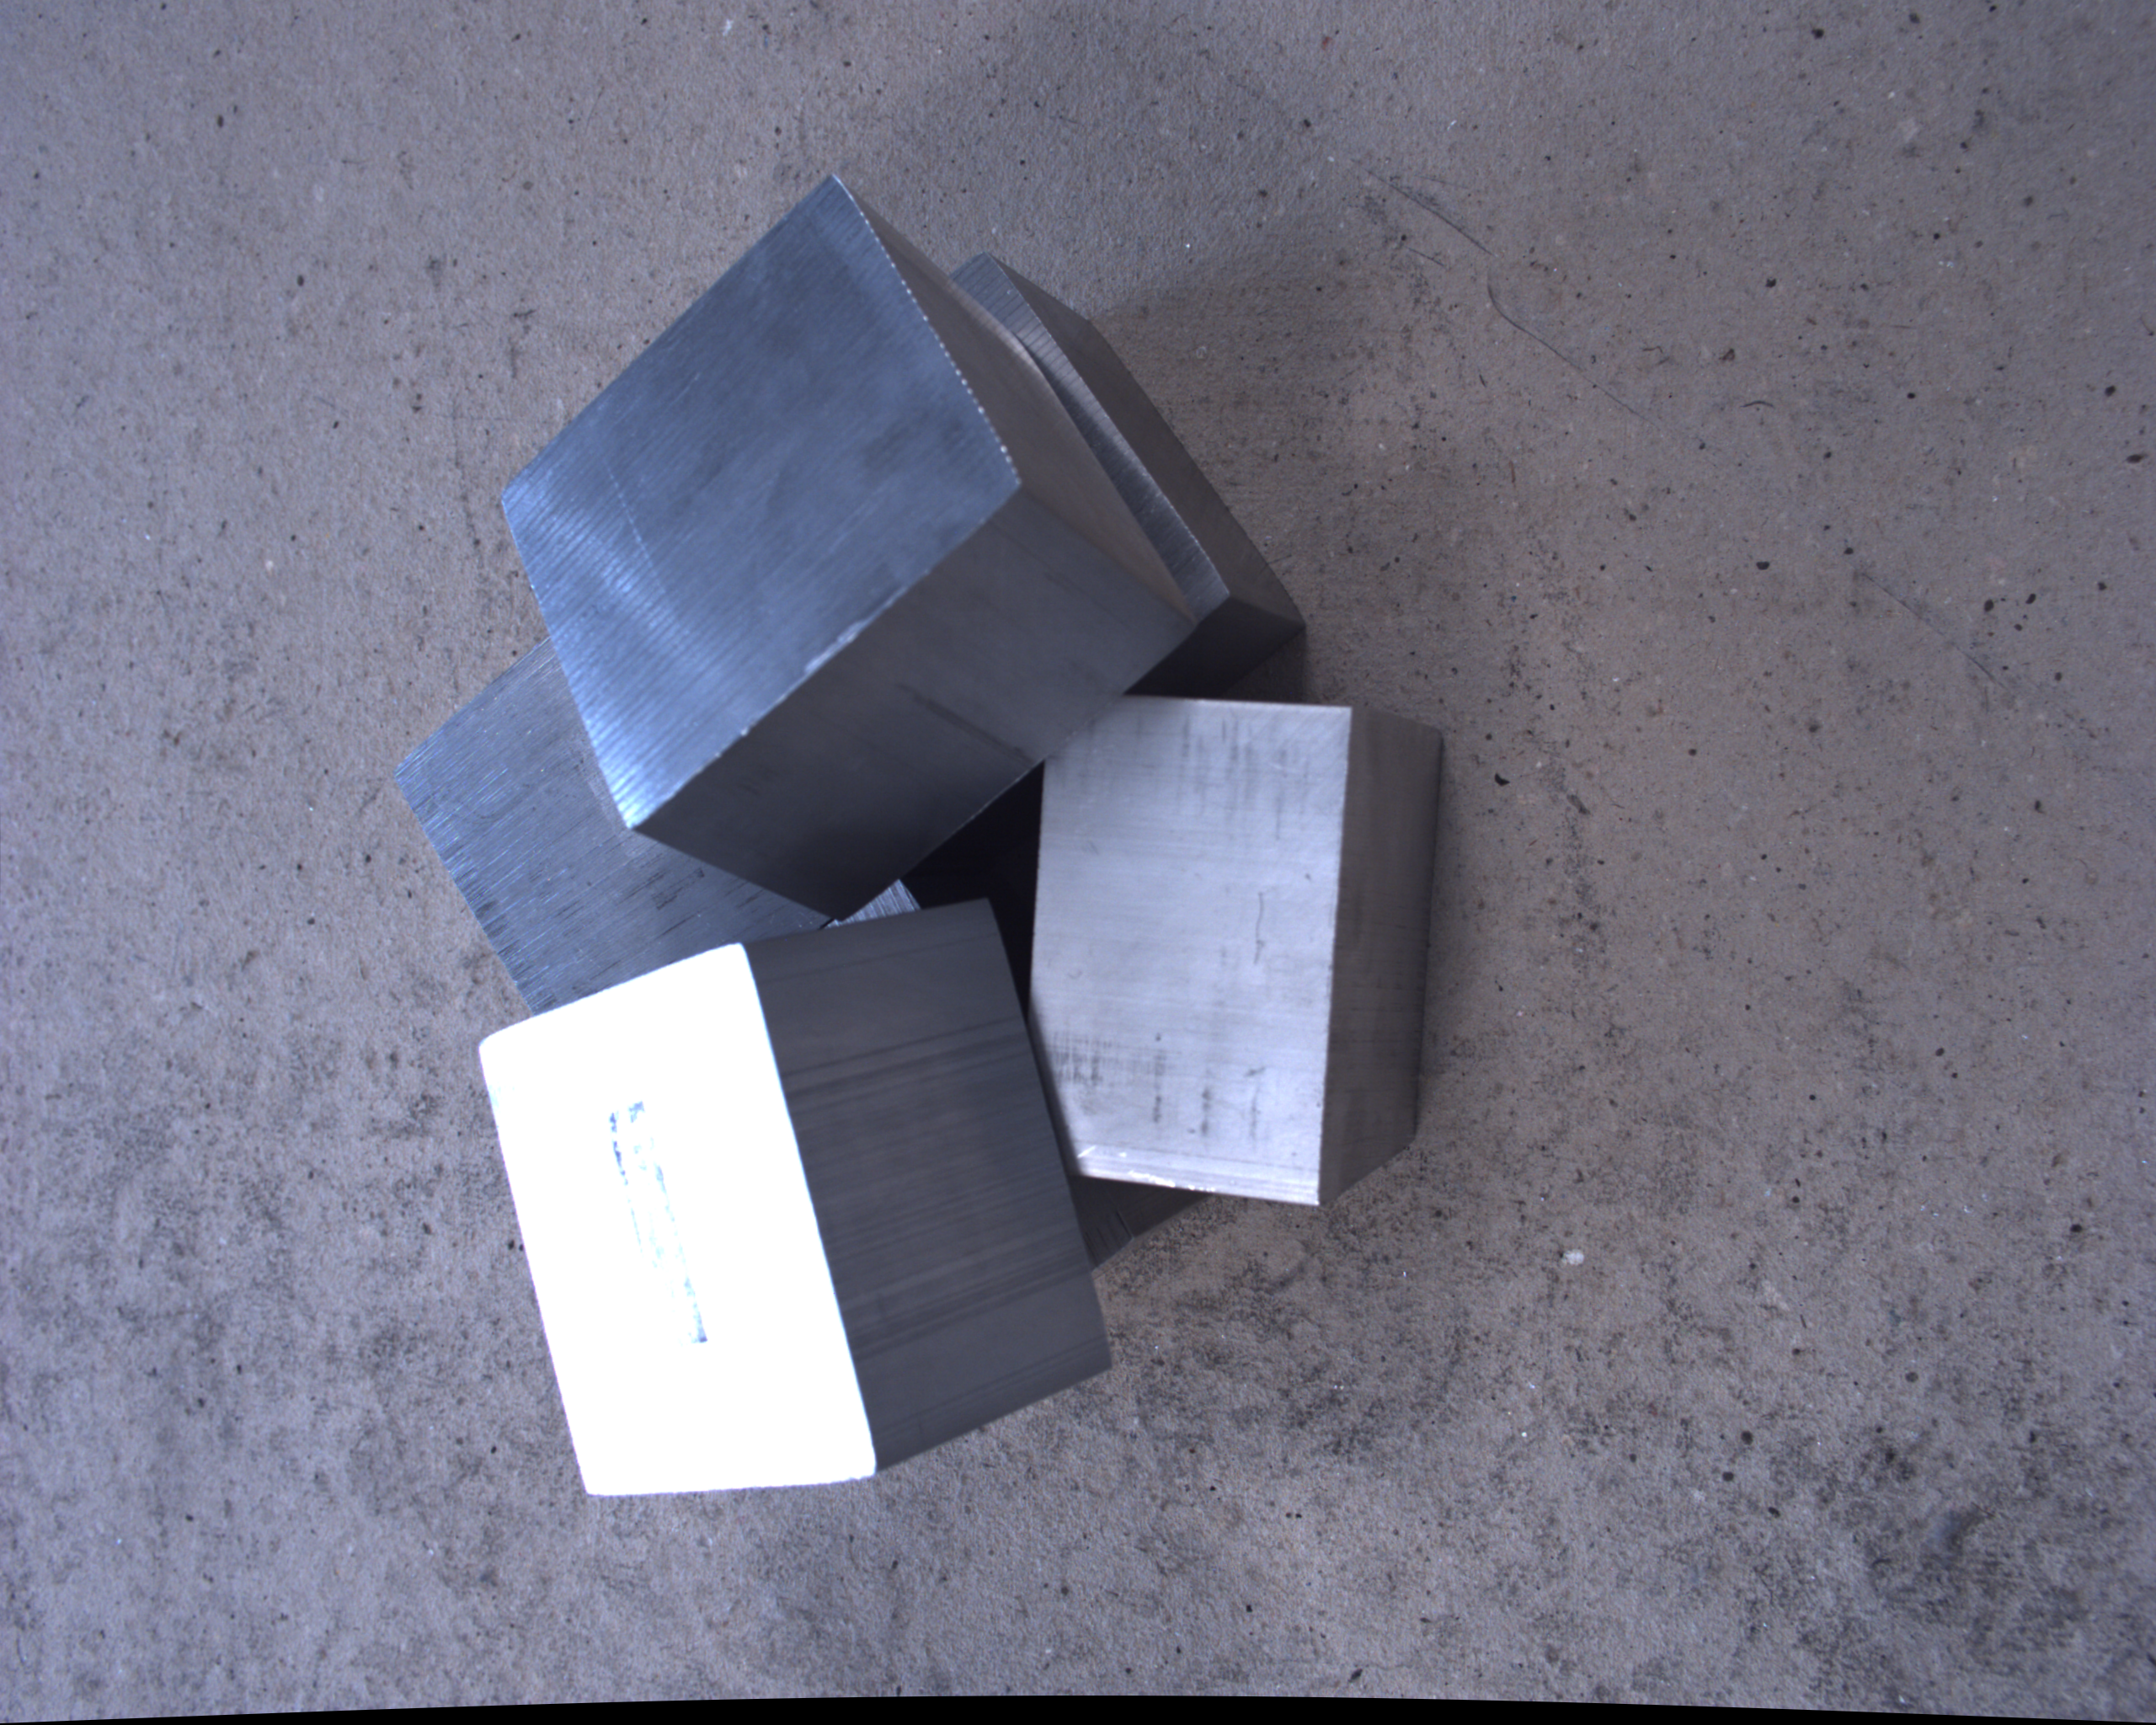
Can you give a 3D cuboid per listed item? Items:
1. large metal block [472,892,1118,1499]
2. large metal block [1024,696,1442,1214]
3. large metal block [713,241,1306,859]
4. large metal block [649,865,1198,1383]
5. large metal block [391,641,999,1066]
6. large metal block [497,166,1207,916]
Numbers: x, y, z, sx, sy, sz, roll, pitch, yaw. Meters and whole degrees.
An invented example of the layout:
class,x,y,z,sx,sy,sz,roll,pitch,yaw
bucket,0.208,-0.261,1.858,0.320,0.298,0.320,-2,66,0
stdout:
class,x,y,z,sx,sy,sz,roll,pitch,yaw
large metal block,-0.049,0.056,0.345,0.080,0.050,0.080,-20,83,43
large metal block,0.031,0.013,0.371,0.050,0.080,0.079,4,92,20
large metal block,-0.017,-0.056,0.401,0.080,0.050,0.080,-37,78,15
large metal block,-0.033,0.056,0.410,0.080,0.050,0.080,-37,78,16
large metal block,-0.077,-0.009,0.425,0.080,0.050,0.080,-37,79,16
large metal block,-0.039,-0.050,0.341,0.080,0.050,0.080,-39,55,15
